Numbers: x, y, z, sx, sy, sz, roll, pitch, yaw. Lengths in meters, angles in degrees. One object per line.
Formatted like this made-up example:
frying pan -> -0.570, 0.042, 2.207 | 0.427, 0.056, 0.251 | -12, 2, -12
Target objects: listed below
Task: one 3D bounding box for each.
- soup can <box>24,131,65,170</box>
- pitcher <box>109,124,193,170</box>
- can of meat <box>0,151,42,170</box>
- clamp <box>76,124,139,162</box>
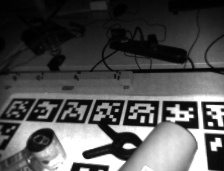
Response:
soup can -> -0.176, 0.179, 0.576 | 0.067, 0.103, 0.067 | -10, 44, 11
pitcher -> 0.067, 0.198, 0.457 | 0.186, 0.134, 0.244 | -3, 32, 46
can of meat -> -0.236, 0.224, 0.538 | 0.084, 0.103, 0.057 | -29, 45, -8
clamp -> -0.006, 0.165, 0.603 | 0.164, 0.037, 0.122 | 3, 42, 14
